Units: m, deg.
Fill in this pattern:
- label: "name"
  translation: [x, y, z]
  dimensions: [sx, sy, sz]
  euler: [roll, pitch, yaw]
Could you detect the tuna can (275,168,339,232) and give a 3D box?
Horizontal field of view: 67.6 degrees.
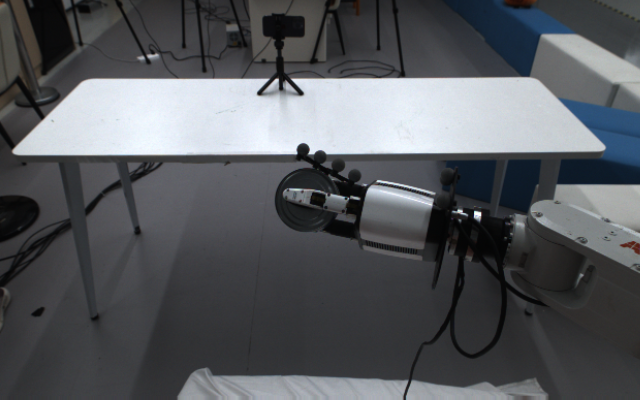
- label: "tuna can"
  translation: [-0.014, 0.001, 0.653]
  dimensions: [0.085, 0.085, 0.034]
  euler: [9, -5, 10]
